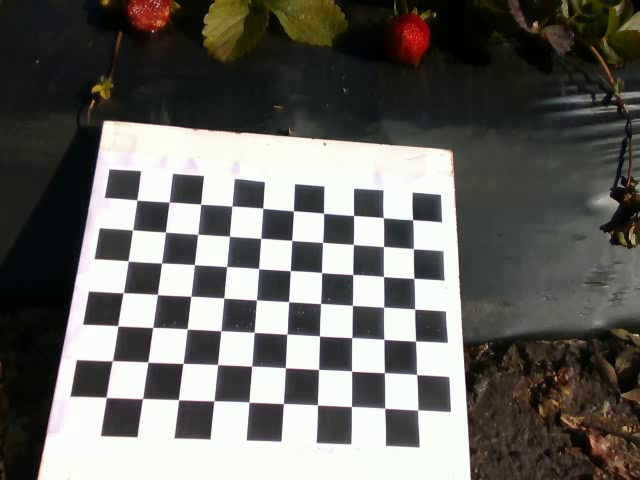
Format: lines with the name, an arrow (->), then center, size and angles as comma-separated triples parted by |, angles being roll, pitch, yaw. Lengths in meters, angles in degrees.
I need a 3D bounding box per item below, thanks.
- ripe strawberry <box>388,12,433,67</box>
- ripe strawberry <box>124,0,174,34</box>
ripe strawberry -> 0.070, -0.153, 0.470 | 0.042, 0.043, 0.050 | 38, 23, 3
ripe strawberry -> -0.135, -0.177, 0.460 | 0.041, 0.043, 0.053 | 16, 26, -6
